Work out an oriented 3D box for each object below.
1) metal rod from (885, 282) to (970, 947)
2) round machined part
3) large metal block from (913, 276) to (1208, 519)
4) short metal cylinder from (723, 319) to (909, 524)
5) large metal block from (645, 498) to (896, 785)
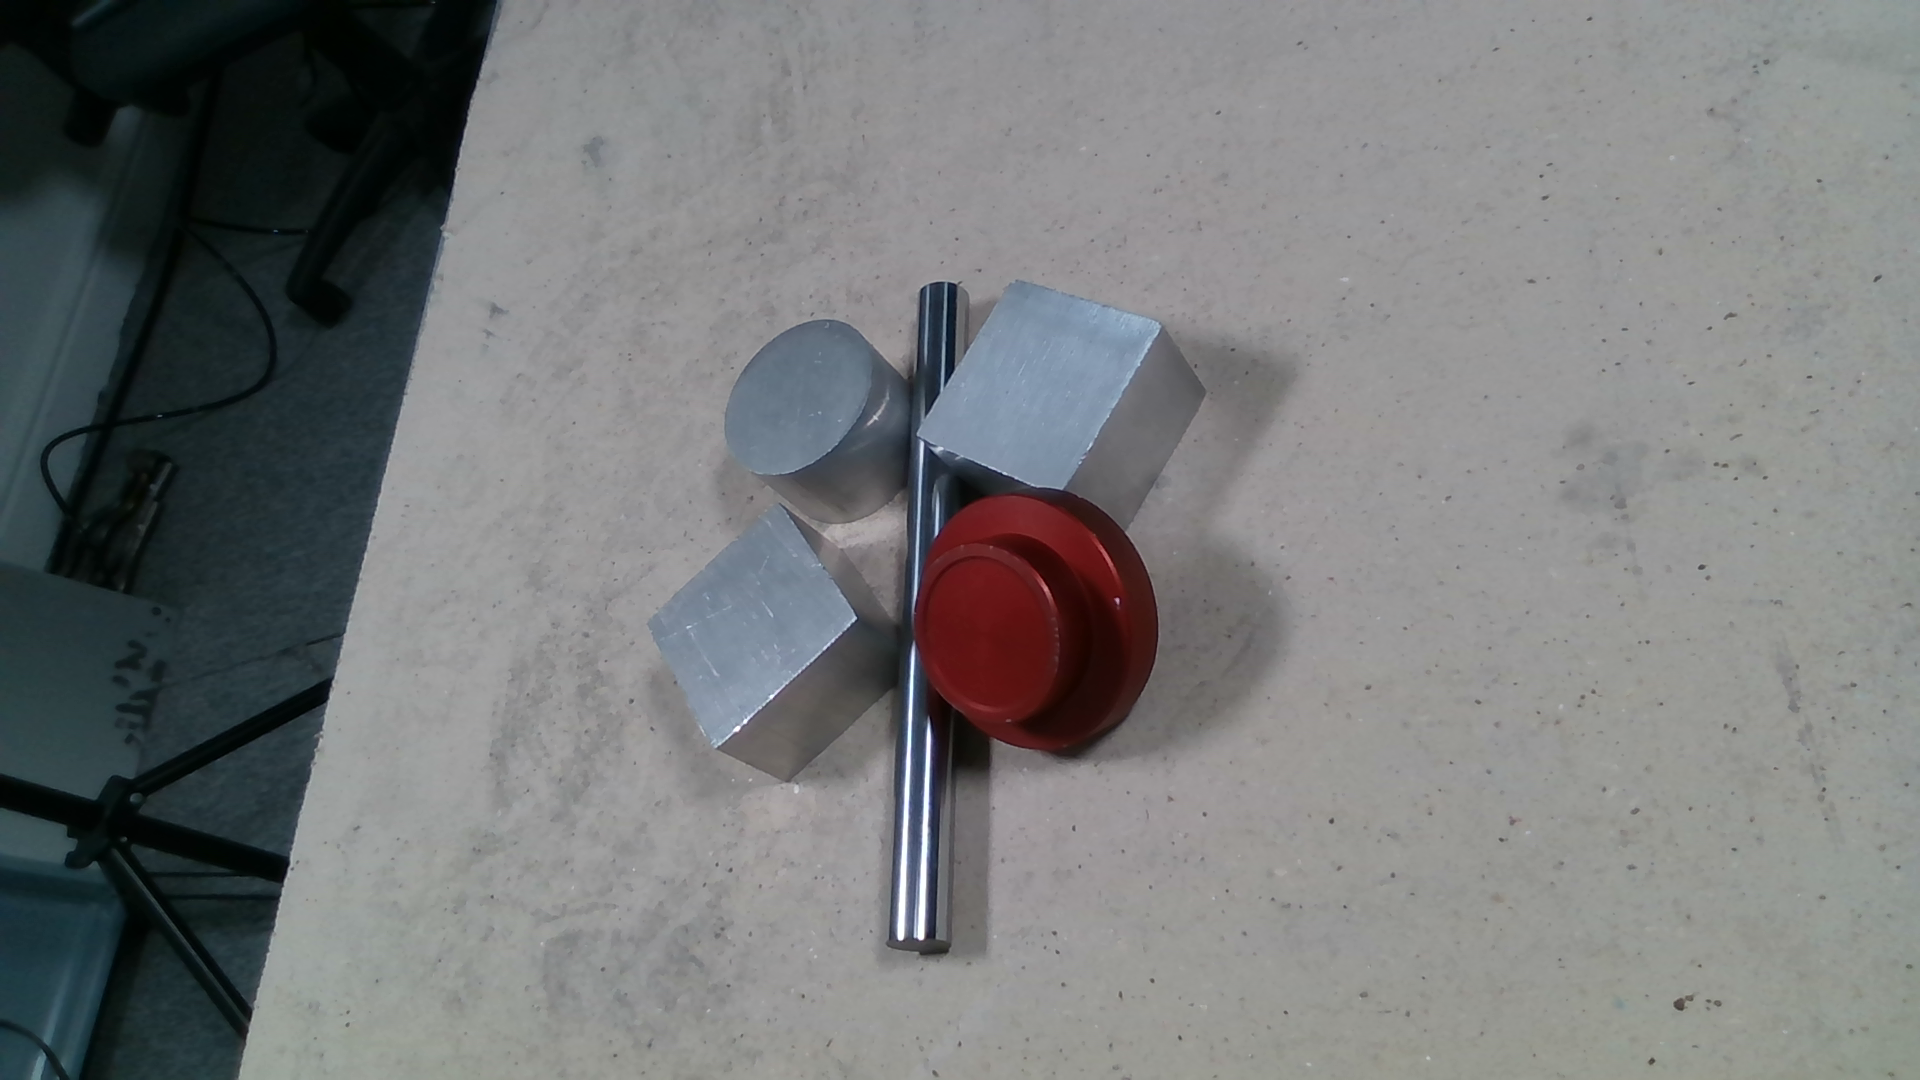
[{"bbox_3d":[-0.012,0.019,0.584,0.025,0.025,0.299,-13,60,26],"label":"metal rod"},{"bbox_3d":[0.021,0.030,0.515,0.098,0.042,0.098,6,100,38],"label":"round machined part"},{"bbox_3d":[0.042,-0.053,0.569,0.080,0.050,0.080,26,81,38],"label":"large metal block"},{"bbox_3d":[-0.062,-0.054,0.636,0.080,0.050,0.080,-14,59,25],"label":"short metal cylinder"},{"bbox_3d":[-0.078,0.044,0.594,0.080,0.050,0.080,-43,51,5],"label":"large metal block"}]
